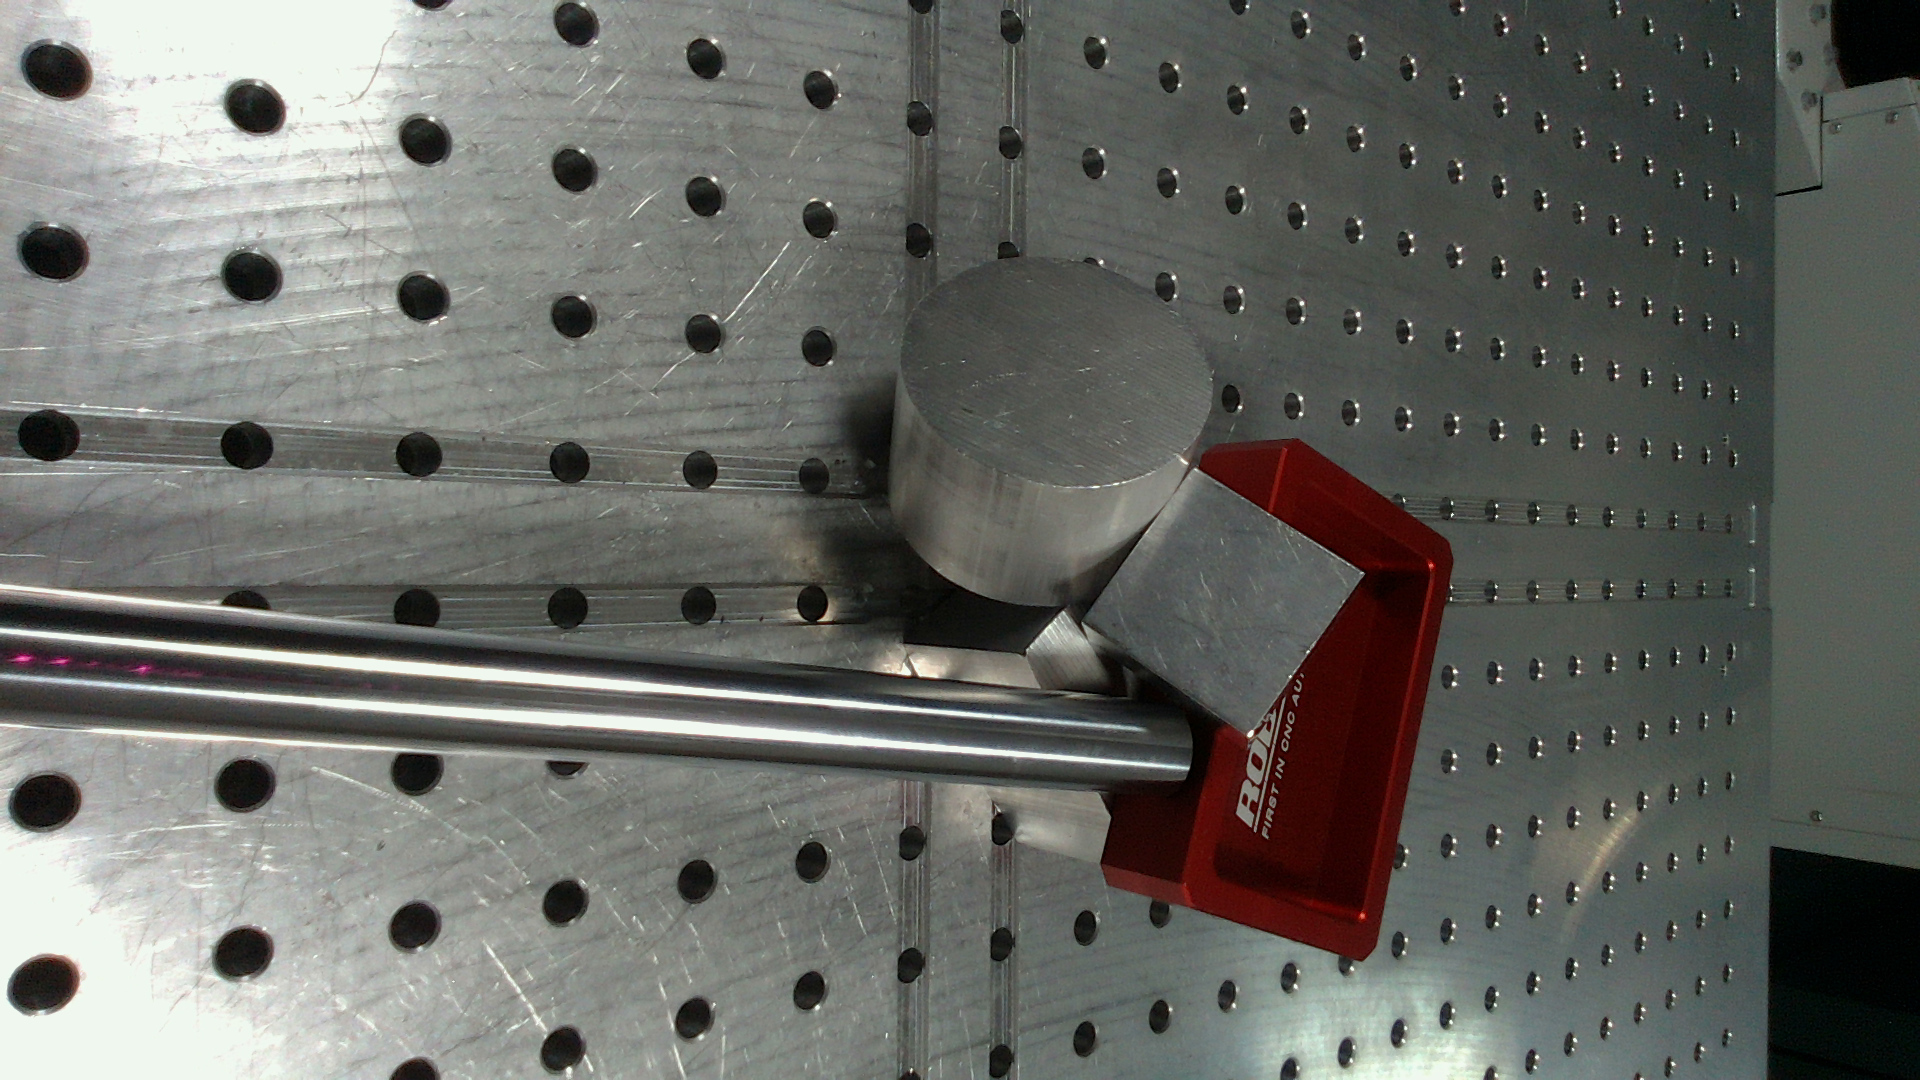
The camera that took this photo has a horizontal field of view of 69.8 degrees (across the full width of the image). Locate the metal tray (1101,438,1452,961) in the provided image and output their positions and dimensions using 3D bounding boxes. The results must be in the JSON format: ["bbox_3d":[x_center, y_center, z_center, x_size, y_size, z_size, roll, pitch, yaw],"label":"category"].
[{"bbox_3d":[0.096,0.047,0.400,0.090,0.030,0.130,26,74,-37],"label":"metal tray"}]

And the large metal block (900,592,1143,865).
[{"bbox_3d":[0.042,0.038,0.409,0.080,0.050,0.080,-43,116,-31],"label":"large metal block"}]

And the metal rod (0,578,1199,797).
[{"bbox_3d":[-0.076,0.034,0.290,0.301,0.025,0.025,9,84,-28],"label":"metal rod"}]

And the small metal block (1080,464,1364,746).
[{"bbox_3d":[0.067,0.017,0.354,0.050,0.050,0.025,-53,163,-7],"label":"small metal block"}]

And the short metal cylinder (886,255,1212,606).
[{"bbox_3d":[0.022,-0.030,0.366,0.080,0.080,0.050,-42,158,-32],"label":"short metal cylinder"}]
